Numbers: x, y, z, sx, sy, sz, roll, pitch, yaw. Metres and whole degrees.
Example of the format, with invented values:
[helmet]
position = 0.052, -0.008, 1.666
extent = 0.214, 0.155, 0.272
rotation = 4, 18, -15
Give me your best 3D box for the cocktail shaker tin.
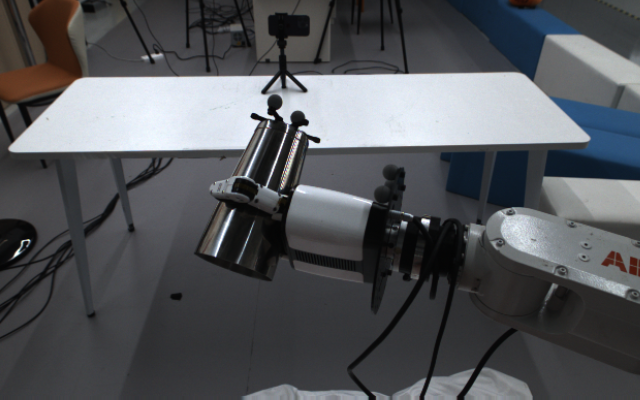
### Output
[cocktail shaker tin]
position = -0.070, -0.001, 0.558
extent = 0.093, 0.093, 0.170
rotation = 14, 73, 17
